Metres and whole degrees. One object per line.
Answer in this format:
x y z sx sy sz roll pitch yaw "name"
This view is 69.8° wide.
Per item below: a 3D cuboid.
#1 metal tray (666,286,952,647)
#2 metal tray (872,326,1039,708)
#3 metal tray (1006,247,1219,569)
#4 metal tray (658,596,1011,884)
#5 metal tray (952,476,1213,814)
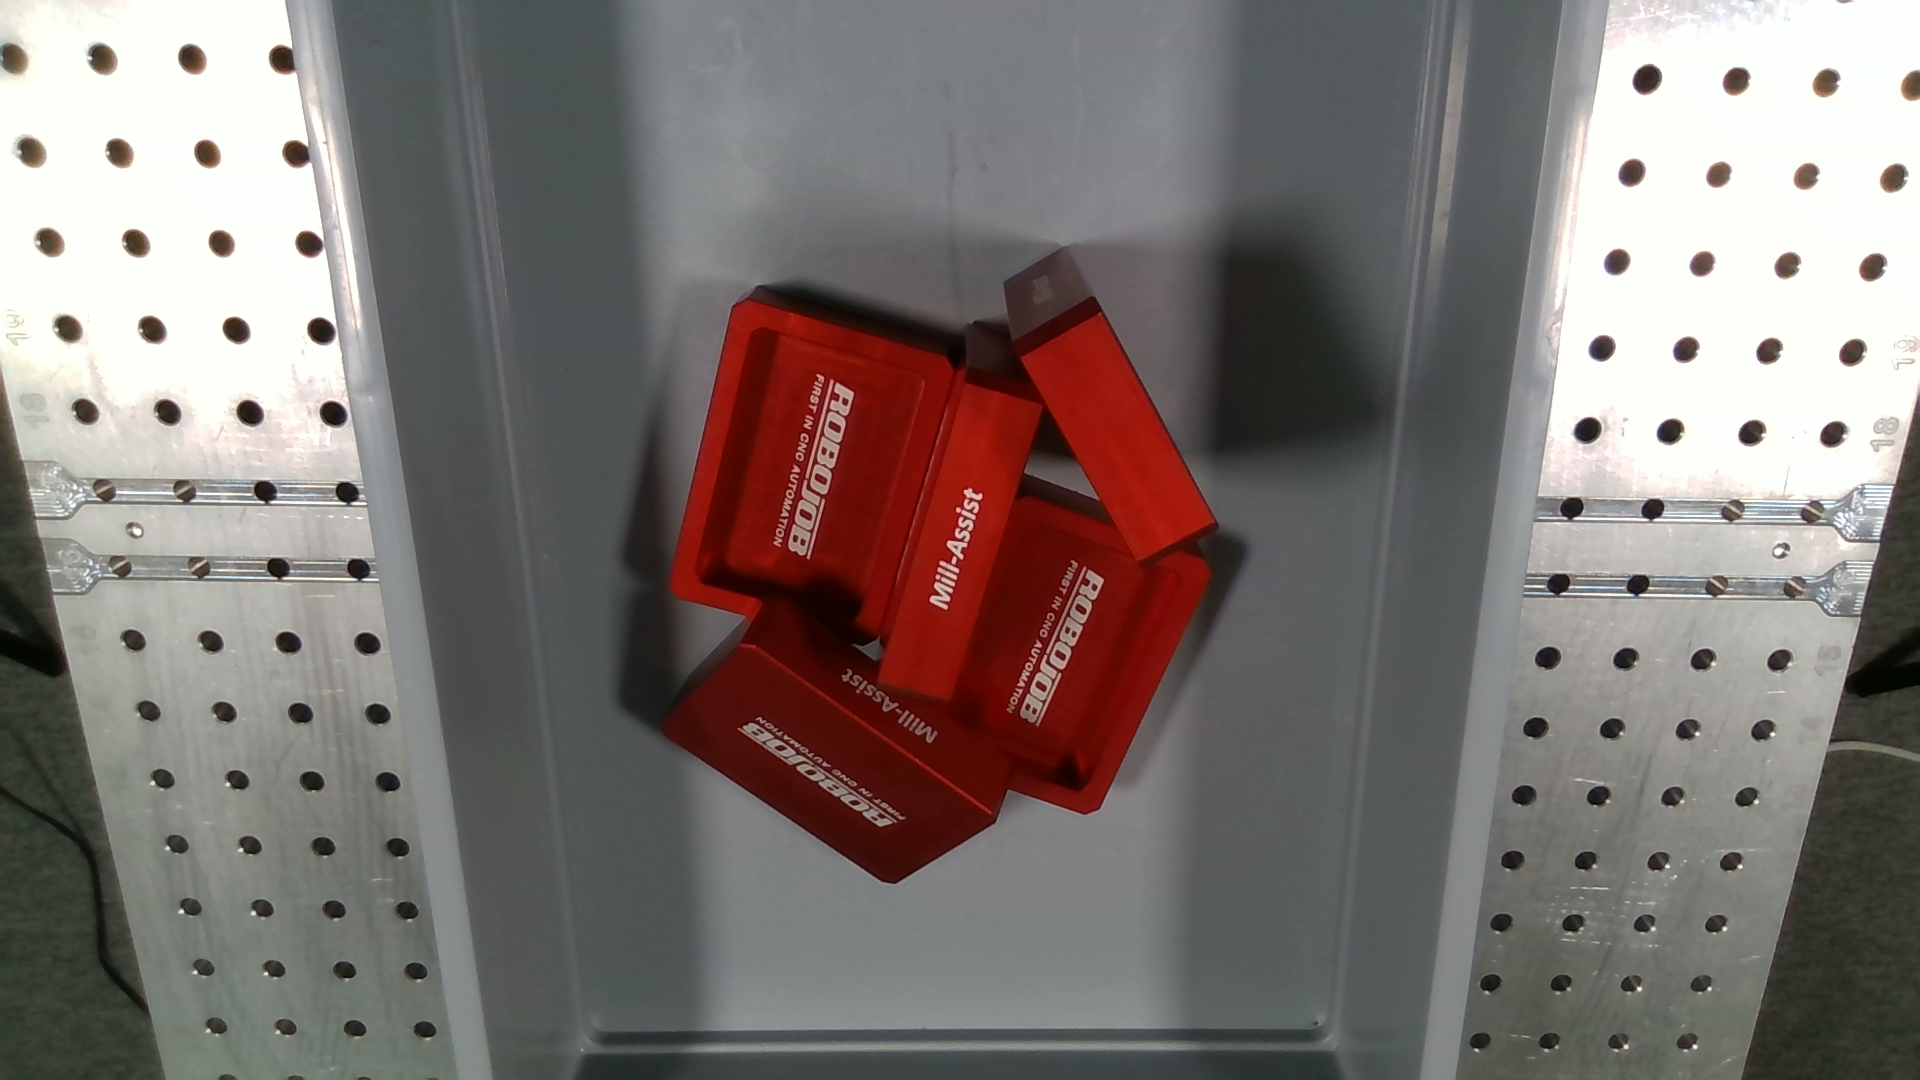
-0.062 -0.029 0.568 0.090 0.030 0.130 15 110 -5 "metal tray"
-0.002 -0.012 0.543 0.030 0.090 0.130 15 110 -5 "metal tray"
0.052 -0.054 0.507 0.030 0.130 0.090 -29 107 10 "metal tray"
-0.054 0.089 0.593 0.130 0.030 0.090 37 134 -12 "metal tray"
0.041 0.046 0.598 0.090 0.030 0.130 20 109 -7 "metal tray"
